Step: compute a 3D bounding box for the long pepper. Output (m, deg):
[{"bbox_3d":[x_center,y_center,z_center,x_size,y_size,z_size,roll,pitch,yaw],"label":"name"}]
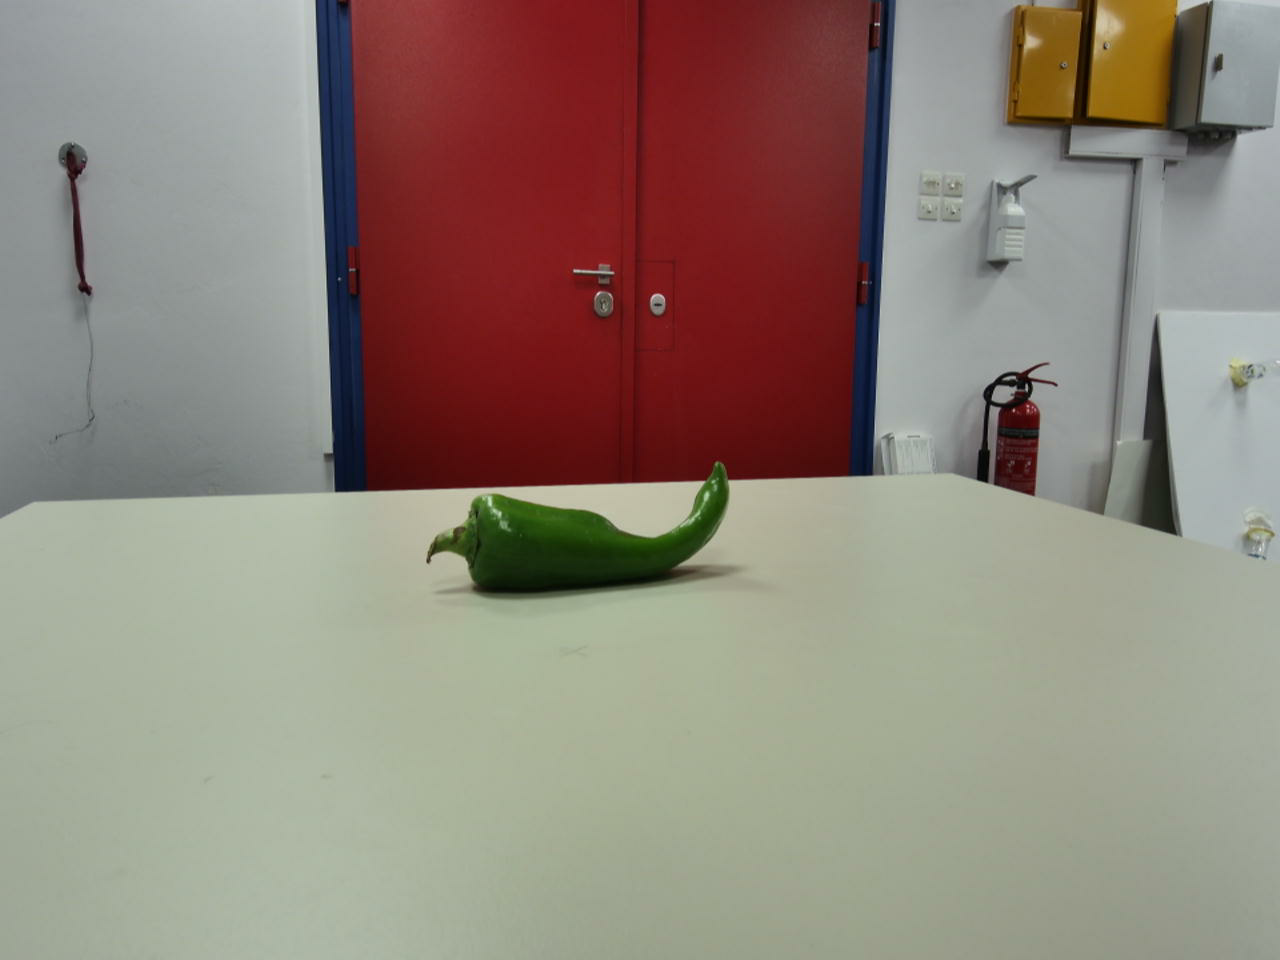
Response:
[{"bbox_3d":[-0.029,0.025,0.553,0.175,0.065,0.058,-2,7,-15],"label":"long pepper"}]
